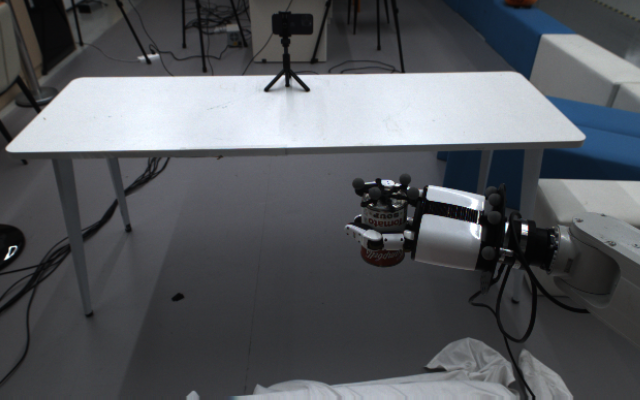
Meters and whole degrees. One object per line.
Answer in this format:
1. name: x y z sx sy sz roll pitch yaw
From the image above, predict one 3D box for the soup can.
1. soup can: 0.095 0.038 0.715 0.067 0.101 0.067 -2 32 1
